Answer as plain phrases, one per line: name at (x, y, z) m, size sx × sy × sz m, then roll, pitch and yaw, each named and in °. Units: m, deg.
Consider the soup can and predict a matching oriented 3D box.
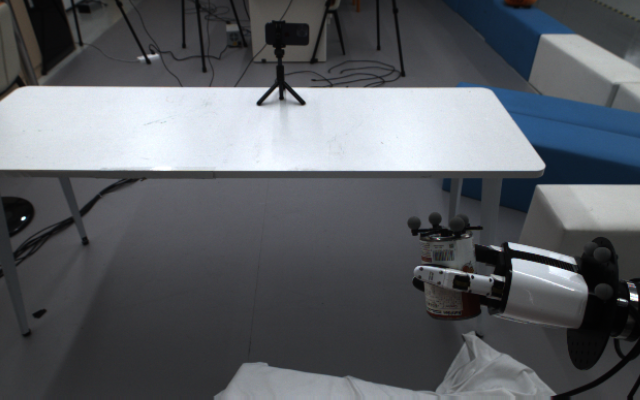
soup can at (0.167, 0.092, 0.611) m, size 0.067 × 0.101 × 0.067 m, roll -6°, pitch 3°, yaw 0°
